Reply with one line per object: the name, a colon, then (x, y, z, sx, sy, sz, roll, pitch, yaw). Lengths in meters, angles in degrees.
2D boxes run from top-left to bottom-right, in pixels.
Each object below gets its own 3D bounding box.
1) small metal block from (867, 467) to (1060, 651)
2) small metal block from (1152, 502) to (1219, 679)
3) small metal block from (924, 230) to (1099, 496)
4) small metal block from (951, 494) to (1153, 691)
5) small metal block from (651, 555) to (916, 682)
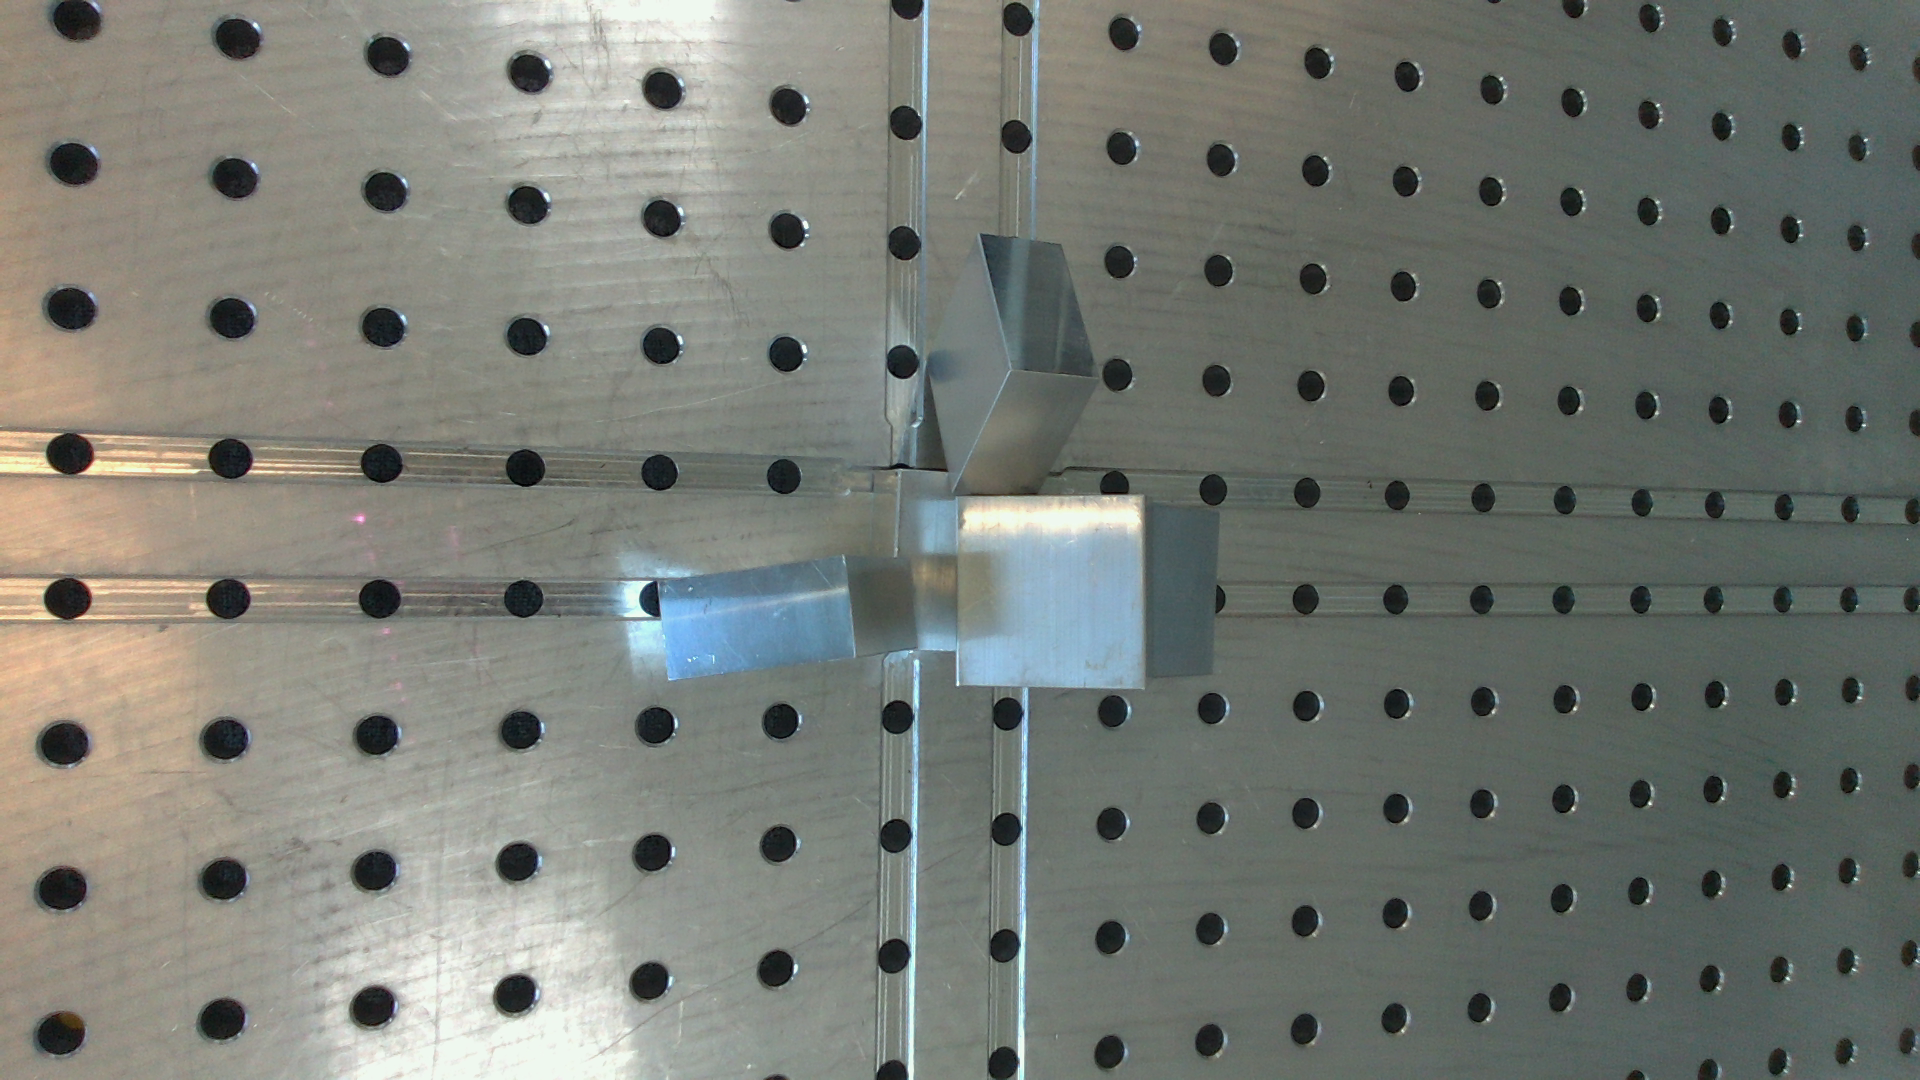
small metal block: (0.000, 0.006, 0.396, 0.050, 0.025, 0.050, 3, 89, -20)
small metal block: (0.052, 0.015, 0.403, 0.050, 0.025, 0.050, 4, 88, -51)
small metal block: (0.012, -0.047, 0.376, 0.025, 0.050, 0.050, 3, 53, -19)
small metal block: (0.025, 0.013, 0.366, 0.050, 0.025, 0.050, 0, 90, 13)
small metal block: (-0.044, 0.020, 0.356, 0.050, 0.050, 0.025, -8, 86, 15)
